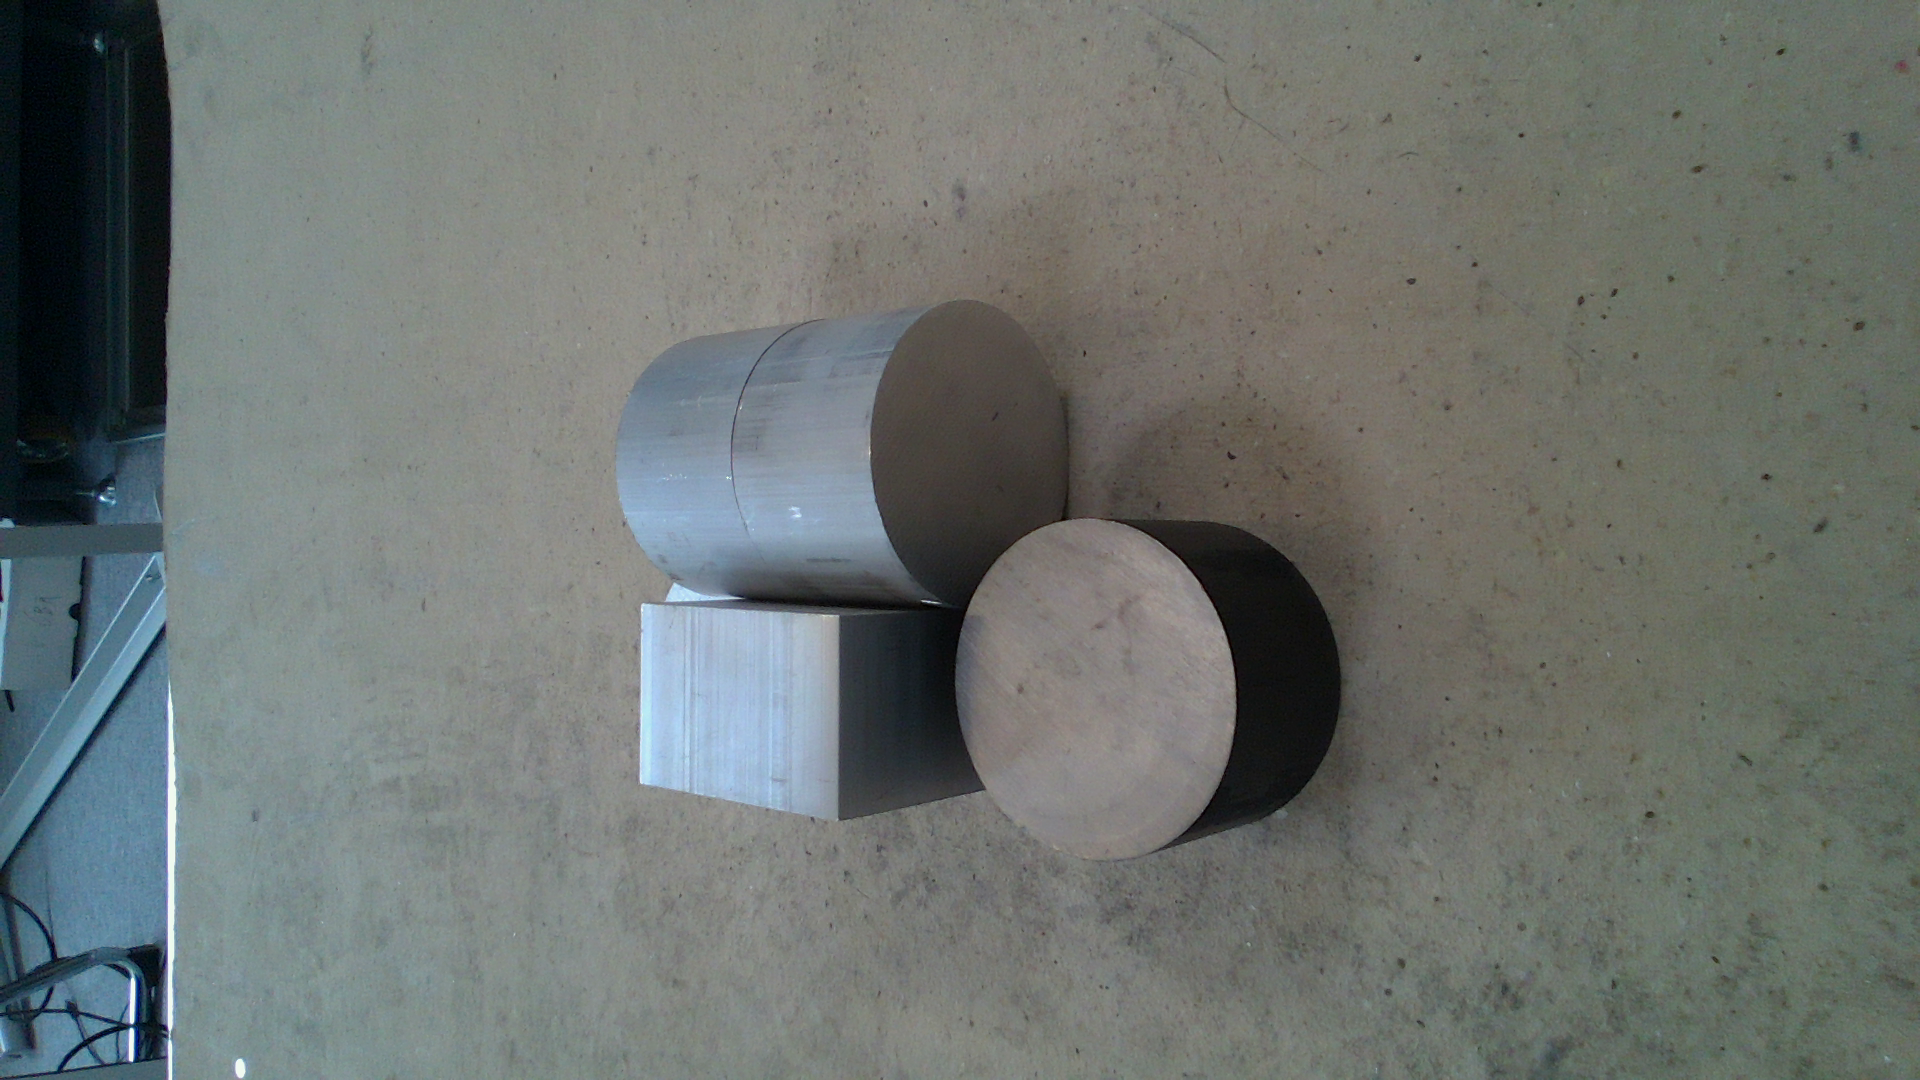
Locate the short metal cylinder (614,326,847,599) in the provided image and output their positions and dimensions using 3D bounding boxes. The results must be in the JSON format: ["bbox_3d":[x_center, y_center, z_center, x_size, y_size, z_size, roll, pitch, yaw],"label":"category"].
[{"bbox_3d":[-0.053,-0.022,0.404,0.050,0.080,0.080,1,91,40],"label":"short metal cylinder"}]

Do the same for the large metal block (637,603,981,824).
[{"bbox_3d":[-0.034,0.043,0.388,0.080,0.080,0.050,1,91,40],"label":"large metal block"}]

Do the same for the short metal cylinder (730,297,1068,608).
[{"bbox_3d":[-0.015,-0.023,0.372,0.050,0.080,0.080,1,91,40],"label":"short metal cylinder"}]

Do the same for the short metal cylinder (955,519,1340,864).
[{"bbox_3d":[0.045,0.035,0.340,0.080,0.050,0.080,0,90,40],"label":"short metal cylinder"}]

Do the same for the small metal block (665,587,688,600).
[{"bbox_3d":[-0.073,0.029,0.457,0.050,0.025,0.050,45,117,31],"label":"small metal block"}]
